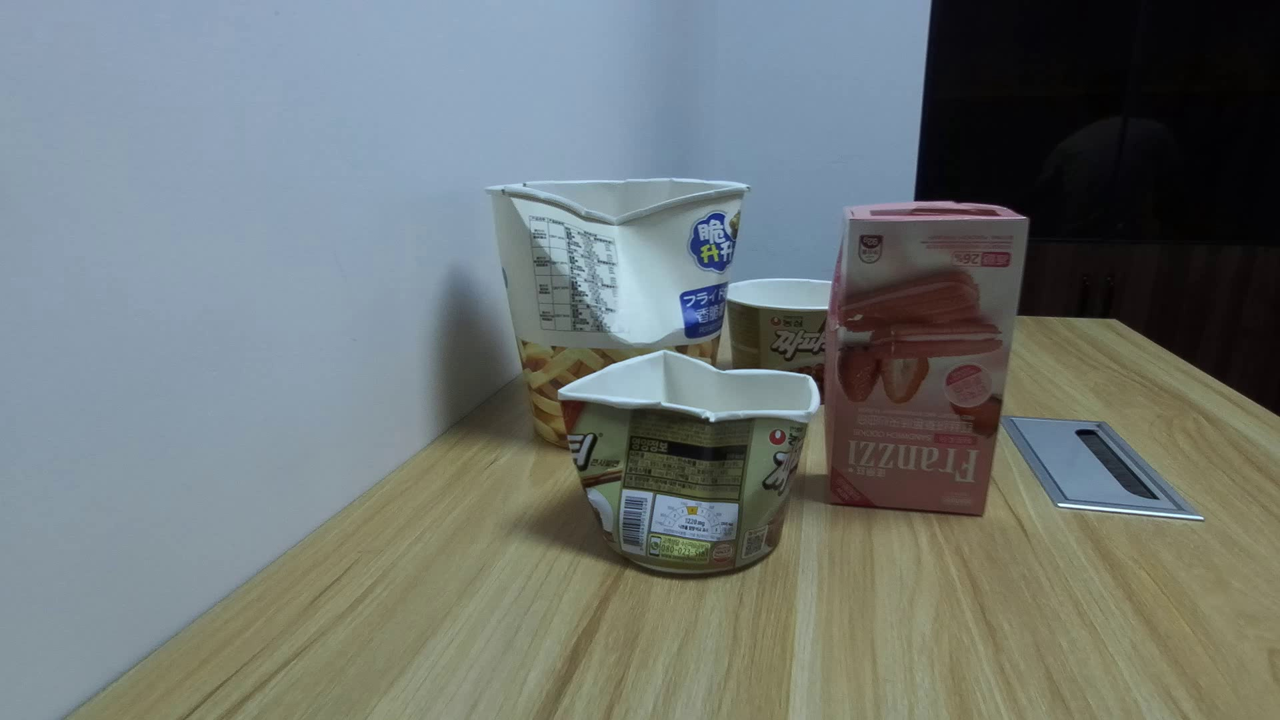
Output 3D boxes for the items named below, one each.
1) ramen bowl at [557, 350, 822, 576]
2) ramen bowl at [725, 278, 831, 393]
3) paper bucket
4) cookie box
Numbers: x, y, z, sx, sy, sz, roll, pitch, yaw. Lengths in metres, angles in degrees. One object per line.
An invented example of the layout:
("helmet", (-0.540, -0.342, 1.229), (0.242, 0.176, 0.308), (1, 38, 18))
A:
("ramen bowl", (0.035, 0.057, 0.411), (0.127, 0.093, 0.112), (11, 20, 33))
("ramen bowl", (0.147, -0.019, 0.664), (0.140, 0.095, 0.140), (-1, 17, 1))
("paper bucket", (-0.026, -0.041, 0.563), (0.163, 0.202, 0.168), (-14, 19, -34))
("cookie box", (0.166, 0.000, 0.435), (0.105, 0.187, 0.049), (3, 19, 11))
